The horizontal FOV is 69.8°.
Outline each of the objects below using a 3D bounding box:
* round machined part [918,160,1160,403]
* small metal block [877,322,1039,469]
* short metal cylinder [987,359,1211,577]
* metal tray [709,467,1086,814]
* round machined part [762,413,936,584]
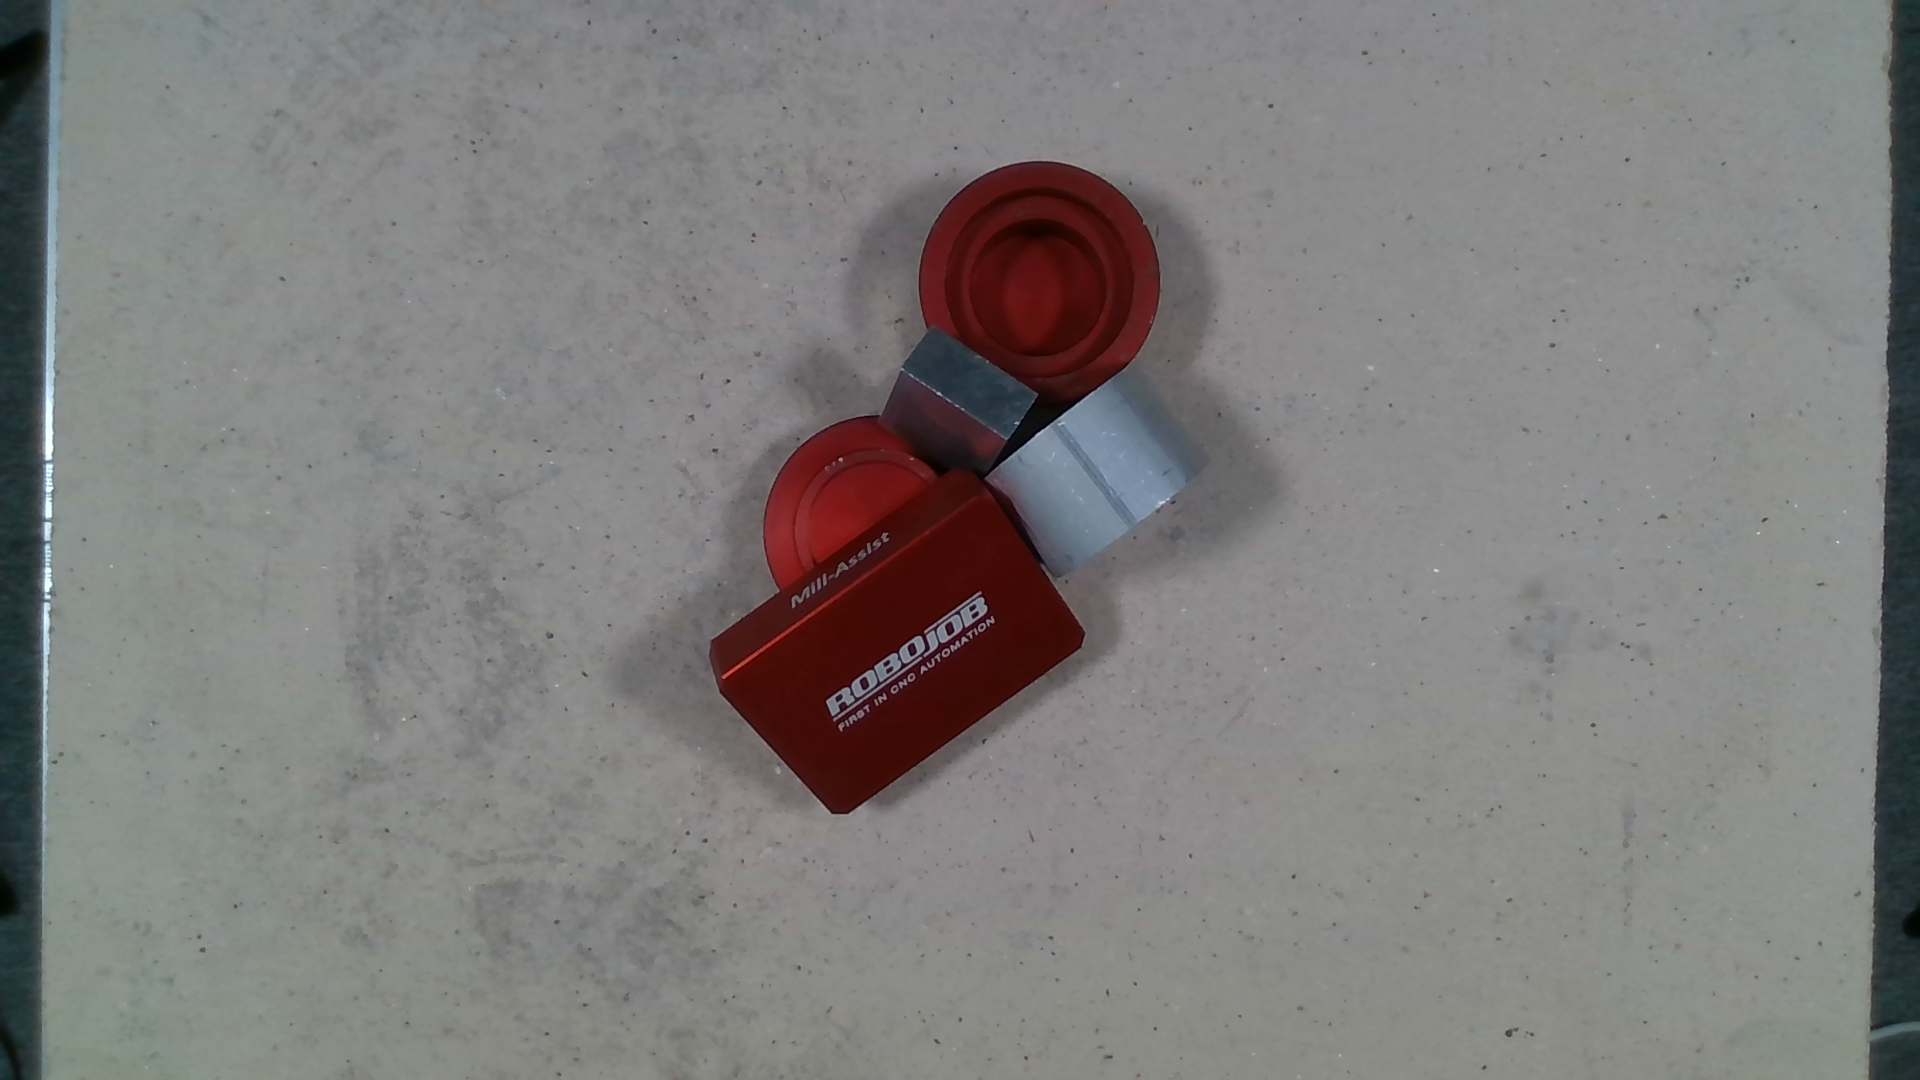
[{"bbox_3d":[0.032,-0.105,0.578,0.098,0.042,0.098,0,90,0],"label":"round machined part"},{"bbox_3d":[-0.002,-0.053,0.556,0.050,0.050,0.025,33,66,-1],"label":"small metal block"},{"bbox_3d":[0.055,-0.029,0.560,0.080,0.080,0.050,-38,90,0],"label":"short metal cylinder"},{"bbox_3d":[-0.025,0.042,0.563,0.130,0.030,0.090,-35,122,0],"label":"metal tray"},{"bbox_3d":[-0.034,-0.004,0.578,0.098,0.042,0.098,0,90,0],"label":"round machined part"}]
